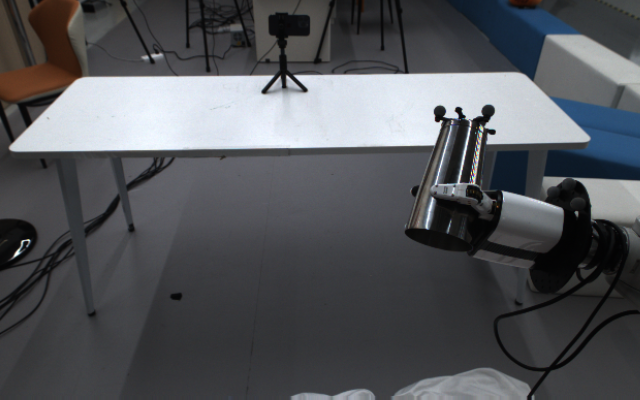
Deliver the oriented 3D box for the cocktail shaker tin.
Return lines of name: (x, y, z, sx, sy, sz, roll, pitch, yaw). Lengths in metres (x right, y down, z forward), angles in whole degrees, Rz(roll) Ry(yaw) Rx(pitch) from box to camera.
cocktail shaker tin: (0.183, -0.023, 0.675, 0.093, 0.093, 0.170, 13, 74, 15)
